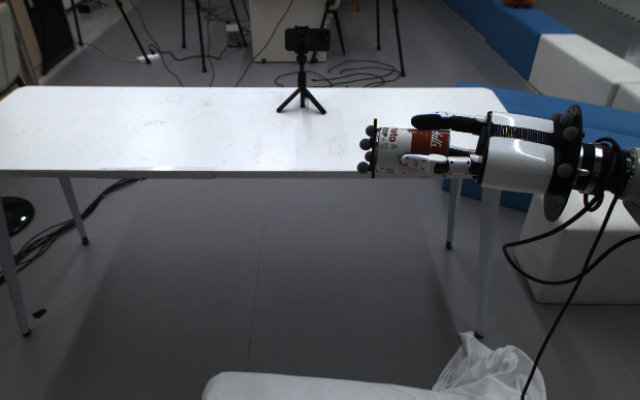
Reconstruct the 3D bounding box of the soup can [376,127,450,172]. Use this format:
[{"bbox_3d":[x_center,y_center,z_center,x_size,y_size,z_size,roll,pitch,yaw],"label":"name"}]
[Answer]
[{"bbox_3d":[0.135,-0.070,0.702,0.101,0.067,0.067,5,35,13],"label":"soup can"}]
